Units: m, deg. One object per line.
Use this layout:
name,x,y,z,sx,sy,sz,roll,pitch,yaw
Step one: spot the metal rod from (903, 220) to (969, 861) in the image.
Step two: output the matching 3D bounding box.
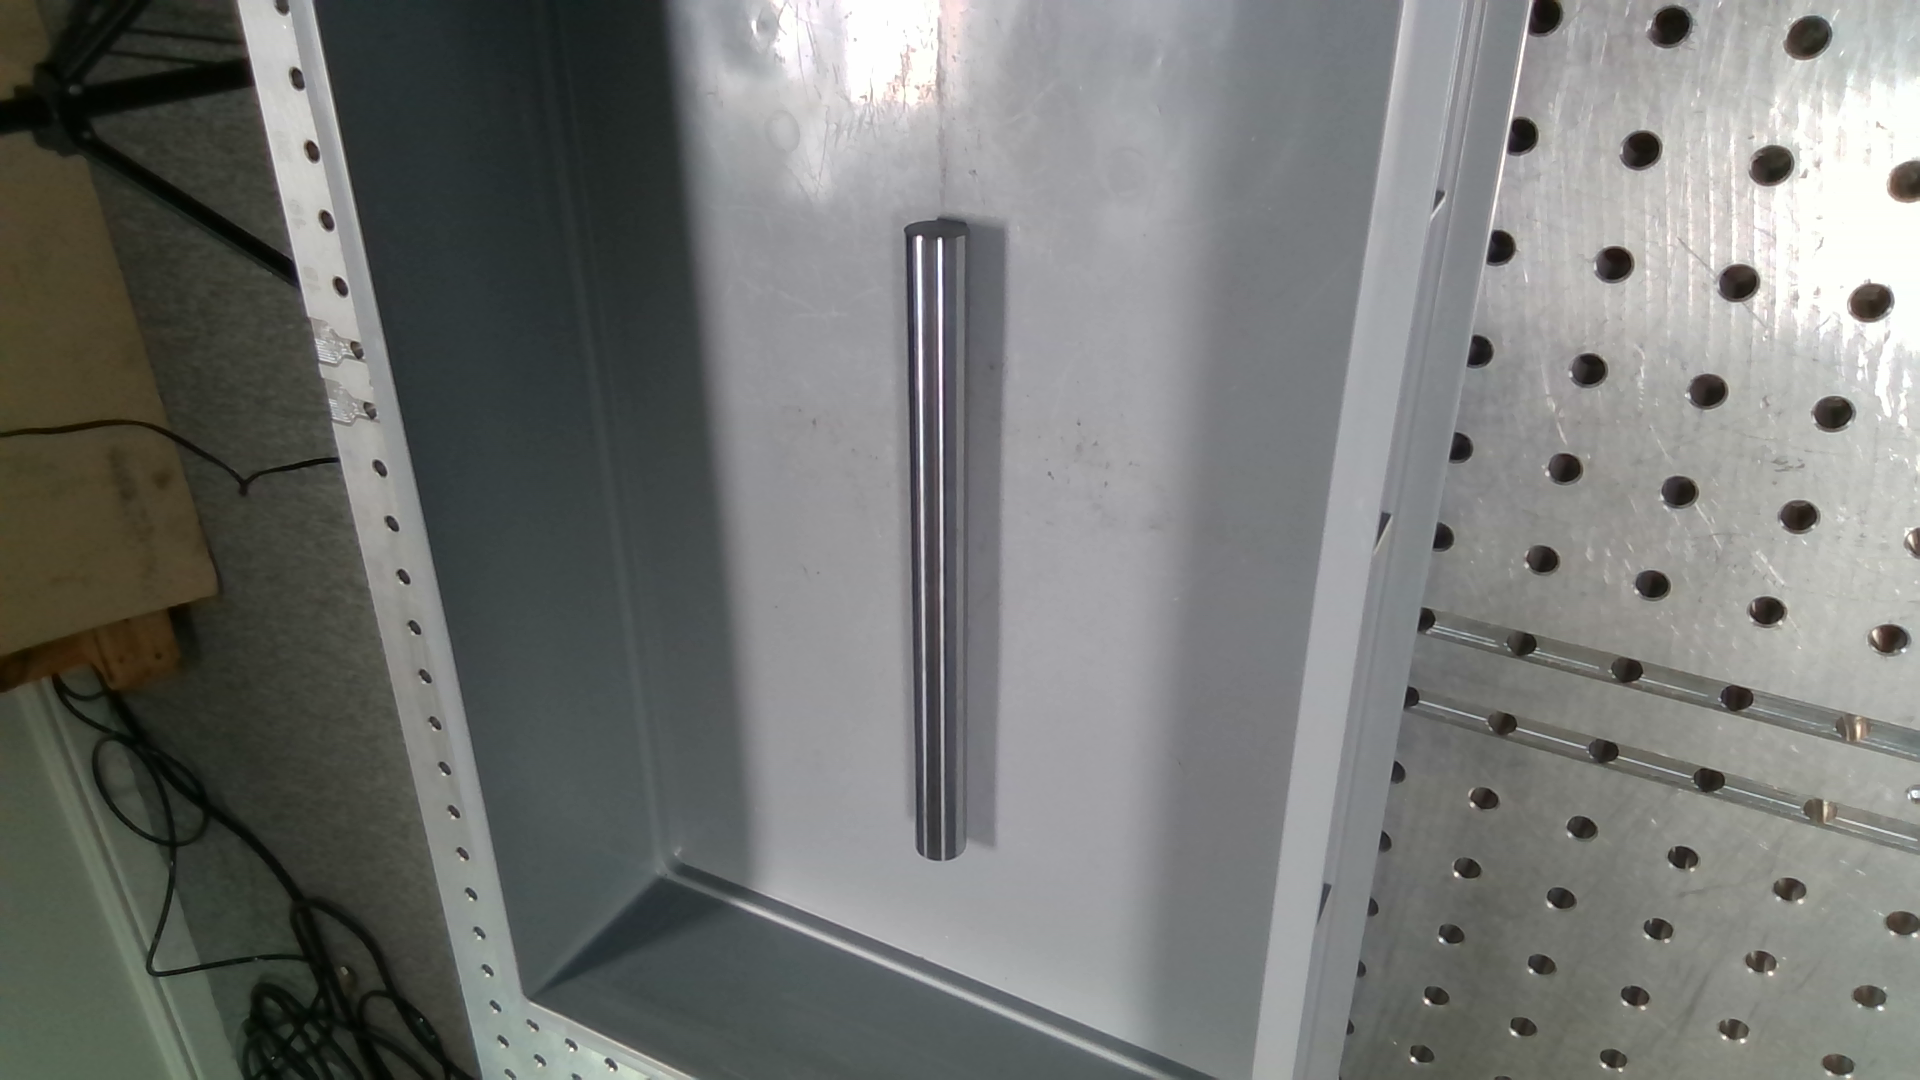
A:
metal rod,-0.009,0.014,0.591,0.025,0.025,0.301,15,122,25
